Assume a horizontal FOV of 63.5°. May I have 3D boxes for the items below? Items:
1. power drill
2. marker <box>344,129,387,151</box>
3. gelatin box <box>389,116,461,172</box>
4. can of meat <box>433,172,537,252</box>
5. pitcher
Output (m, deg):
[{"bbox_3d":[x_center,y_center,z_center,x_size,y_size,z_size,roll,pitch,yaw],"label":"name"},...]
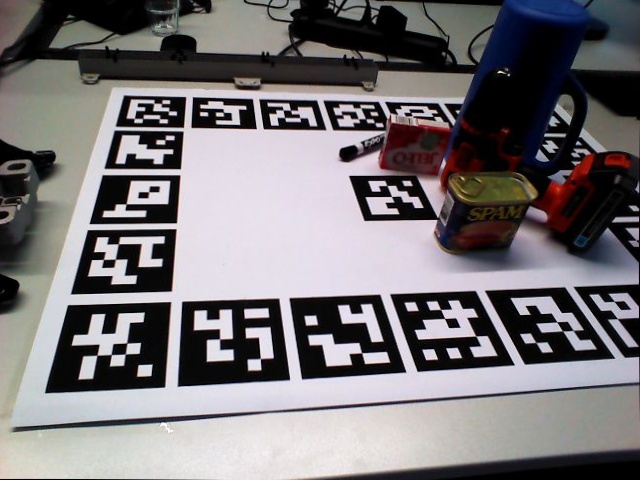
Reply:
[{"bbox_3d":[0.261,-0.109,0.649,0.187,0.185,0.057,29,49,13],"label":"power drill"},{"bbox_3d":[0.089,-0.159,0.794,0.120,0.020,0.019,-20,50,-26],"label":"marker"},{"bbox_3d":[0.151,-0.138,0.746,0.089,0.073,0.030,9,47,-1],"label":"gelatin box"},{"bbox_3d":[0.195,-0.032,0.626,0.102,0.084,0.057,0,42,-9],"label":"can of meat"},{"bbox_3d":[0.302,-0.195,0.714,0.189,0.243,0.132,19,47,21],"label":"pitcher"}]
